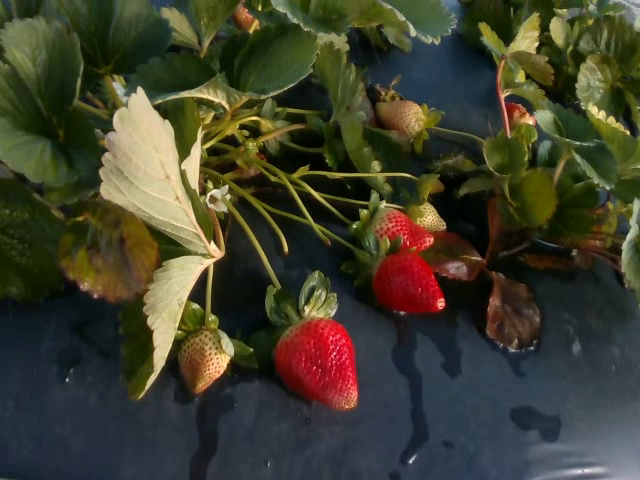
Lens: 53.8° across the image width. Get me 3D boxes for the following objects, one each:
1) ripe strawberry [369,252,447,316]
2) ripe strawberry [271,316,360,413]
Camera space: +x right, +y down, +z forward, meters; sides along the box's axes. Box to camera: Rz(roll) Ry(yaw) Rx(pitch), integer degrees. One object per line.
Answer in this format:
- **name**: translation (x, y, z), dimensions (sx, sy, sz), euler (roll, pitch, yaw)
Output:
- **ripe strawberry**: translation (0.057, 0.032, 0.394), dimensions (0.055, 0.045, 0.041), euler (31, -9, 42)
- **ripe strawberry**: translation (0.002, 0.070, 0.341), dimensions (0.050, 0.050, 0.065), euler (-30, 40, -9)
